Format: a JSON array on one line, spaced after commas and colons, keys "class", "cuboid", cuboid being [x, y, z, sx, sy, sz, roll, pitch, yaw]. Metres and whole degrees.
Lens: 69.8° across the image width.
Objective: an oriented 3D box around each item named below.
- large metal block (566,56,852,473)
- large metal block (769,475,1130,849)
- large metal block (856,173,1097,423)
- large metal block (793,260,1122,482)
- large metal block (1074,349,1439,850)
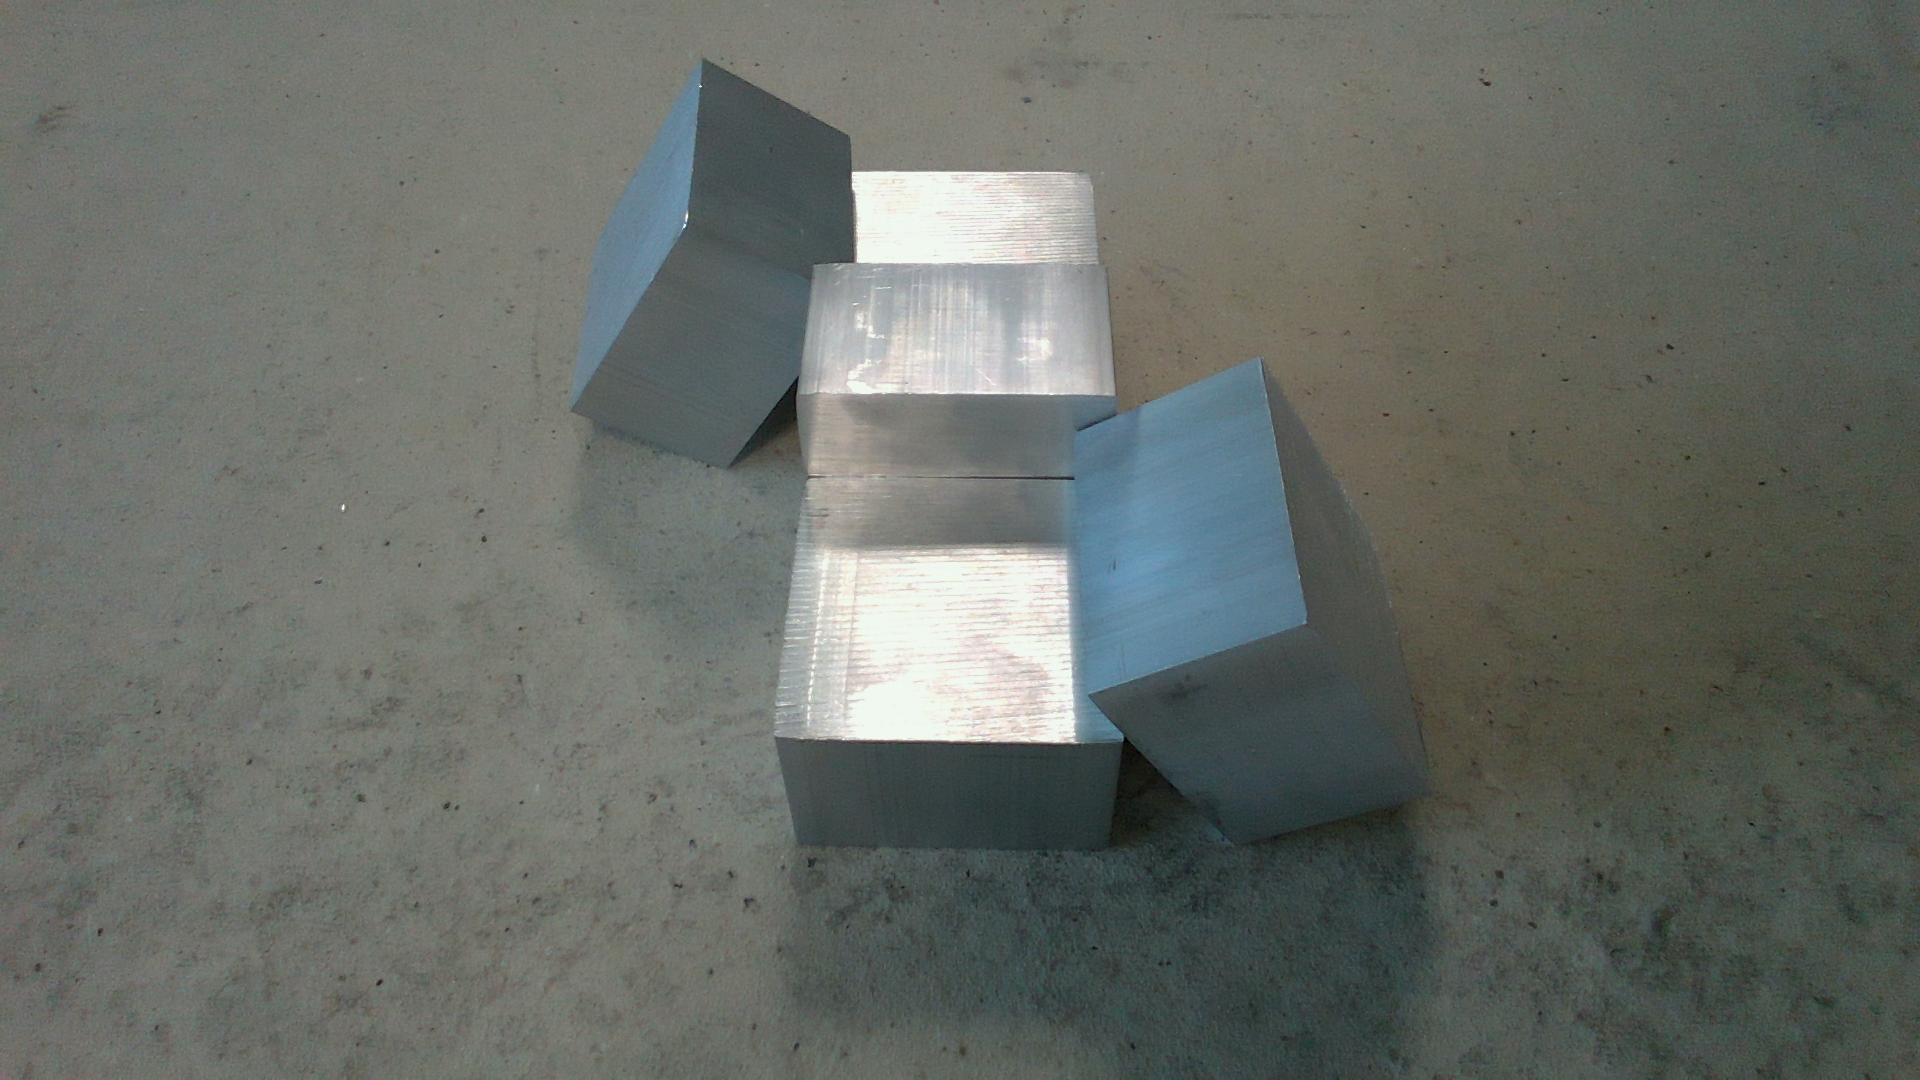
[{"class": "large metal block", "cuboid": [-0.075, -0.082, 0.415, 0.050, 0.080, 0.080, 21, 43, -27]}, {"class": "large metal block", "cuboid": [-0.001, 0.030, 0.350, 0.080, 0.050, 0.080, 0, 51, 1]}, {"class": "large metal block", "cuboid": [0.001, -0.071, 0.433, 0.080, 0.050, 0.080, 0, 49, 1]}, {"class": "large metal block", "cuboid": [0.000, -0.029, 0.381, 0.080, 0.080, 0.050, 0, 50, 0]}, {"class": "large metal block", "cuboid": [0.070, 0.016, 0.333, 0.050, 0.080, 0.080, -22, 45, 24]}]
